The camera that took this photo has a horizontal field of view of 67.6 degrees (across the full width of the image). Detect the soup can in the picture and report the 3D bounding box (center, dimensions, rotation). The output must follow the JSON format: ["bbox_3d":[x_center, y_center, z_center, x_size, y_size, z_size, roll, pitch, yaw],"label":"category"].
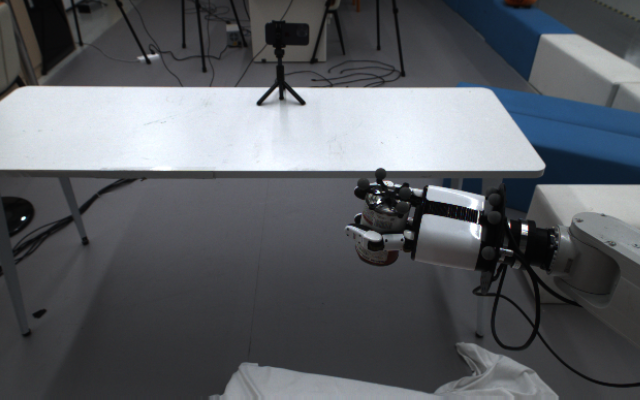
[{"bbox_3d":[0.094,0.039,0.717,0.067,0.101,0.067,5,37,-3],"label":"soup can"}]
